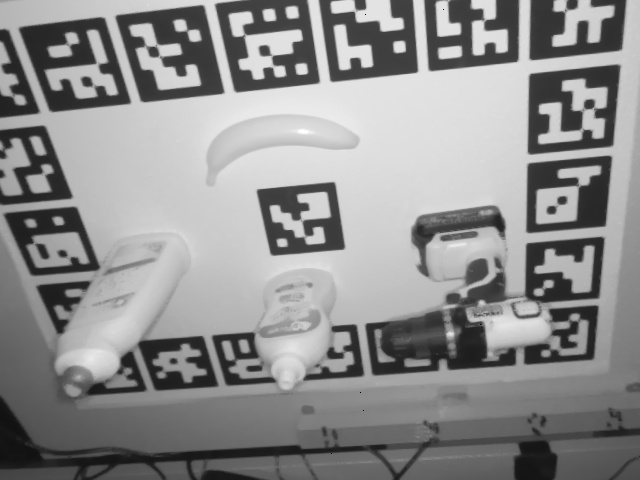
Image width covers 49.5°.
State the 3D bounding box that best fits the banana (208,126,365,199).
[{"bbox_3d":[-0.046,-0.099,0.822,0.197,0.039,0.074,-10,116,6],"label":"banana"}]

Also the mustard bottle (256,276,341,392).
[{"bbox_3d":[-0.029,0.119,0.866,0.096,0.193,0.058,-10,118,12],"label":"mustard bottle"}]

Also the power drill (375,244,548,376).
[{"bbox_3d":[0.150,0.081,0.798,0.184,0.188,0.057,-10,118,6],"label":"power drill"}]

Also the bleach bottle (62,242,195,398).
[{"bbox_3d":[-0.229,0.092,0.826,0.102,0.253,0.067,4,120,3],"label":"bleach bottle"}]
